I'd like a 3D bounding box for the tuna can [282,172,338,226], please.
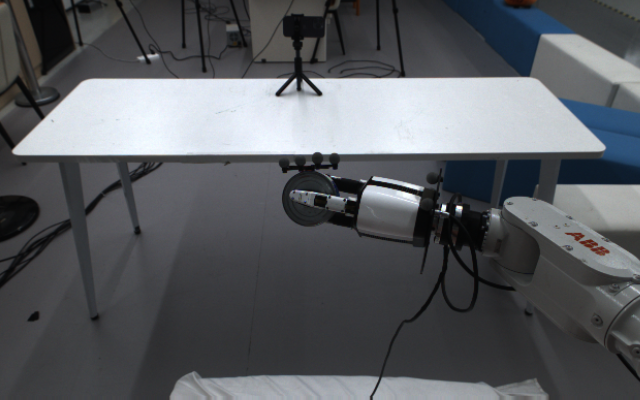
[{"bbox_3d":[-0.012,0.002,0.743,0.085,0.085,0.034,10,2,11],"label":"tuna can"}]
